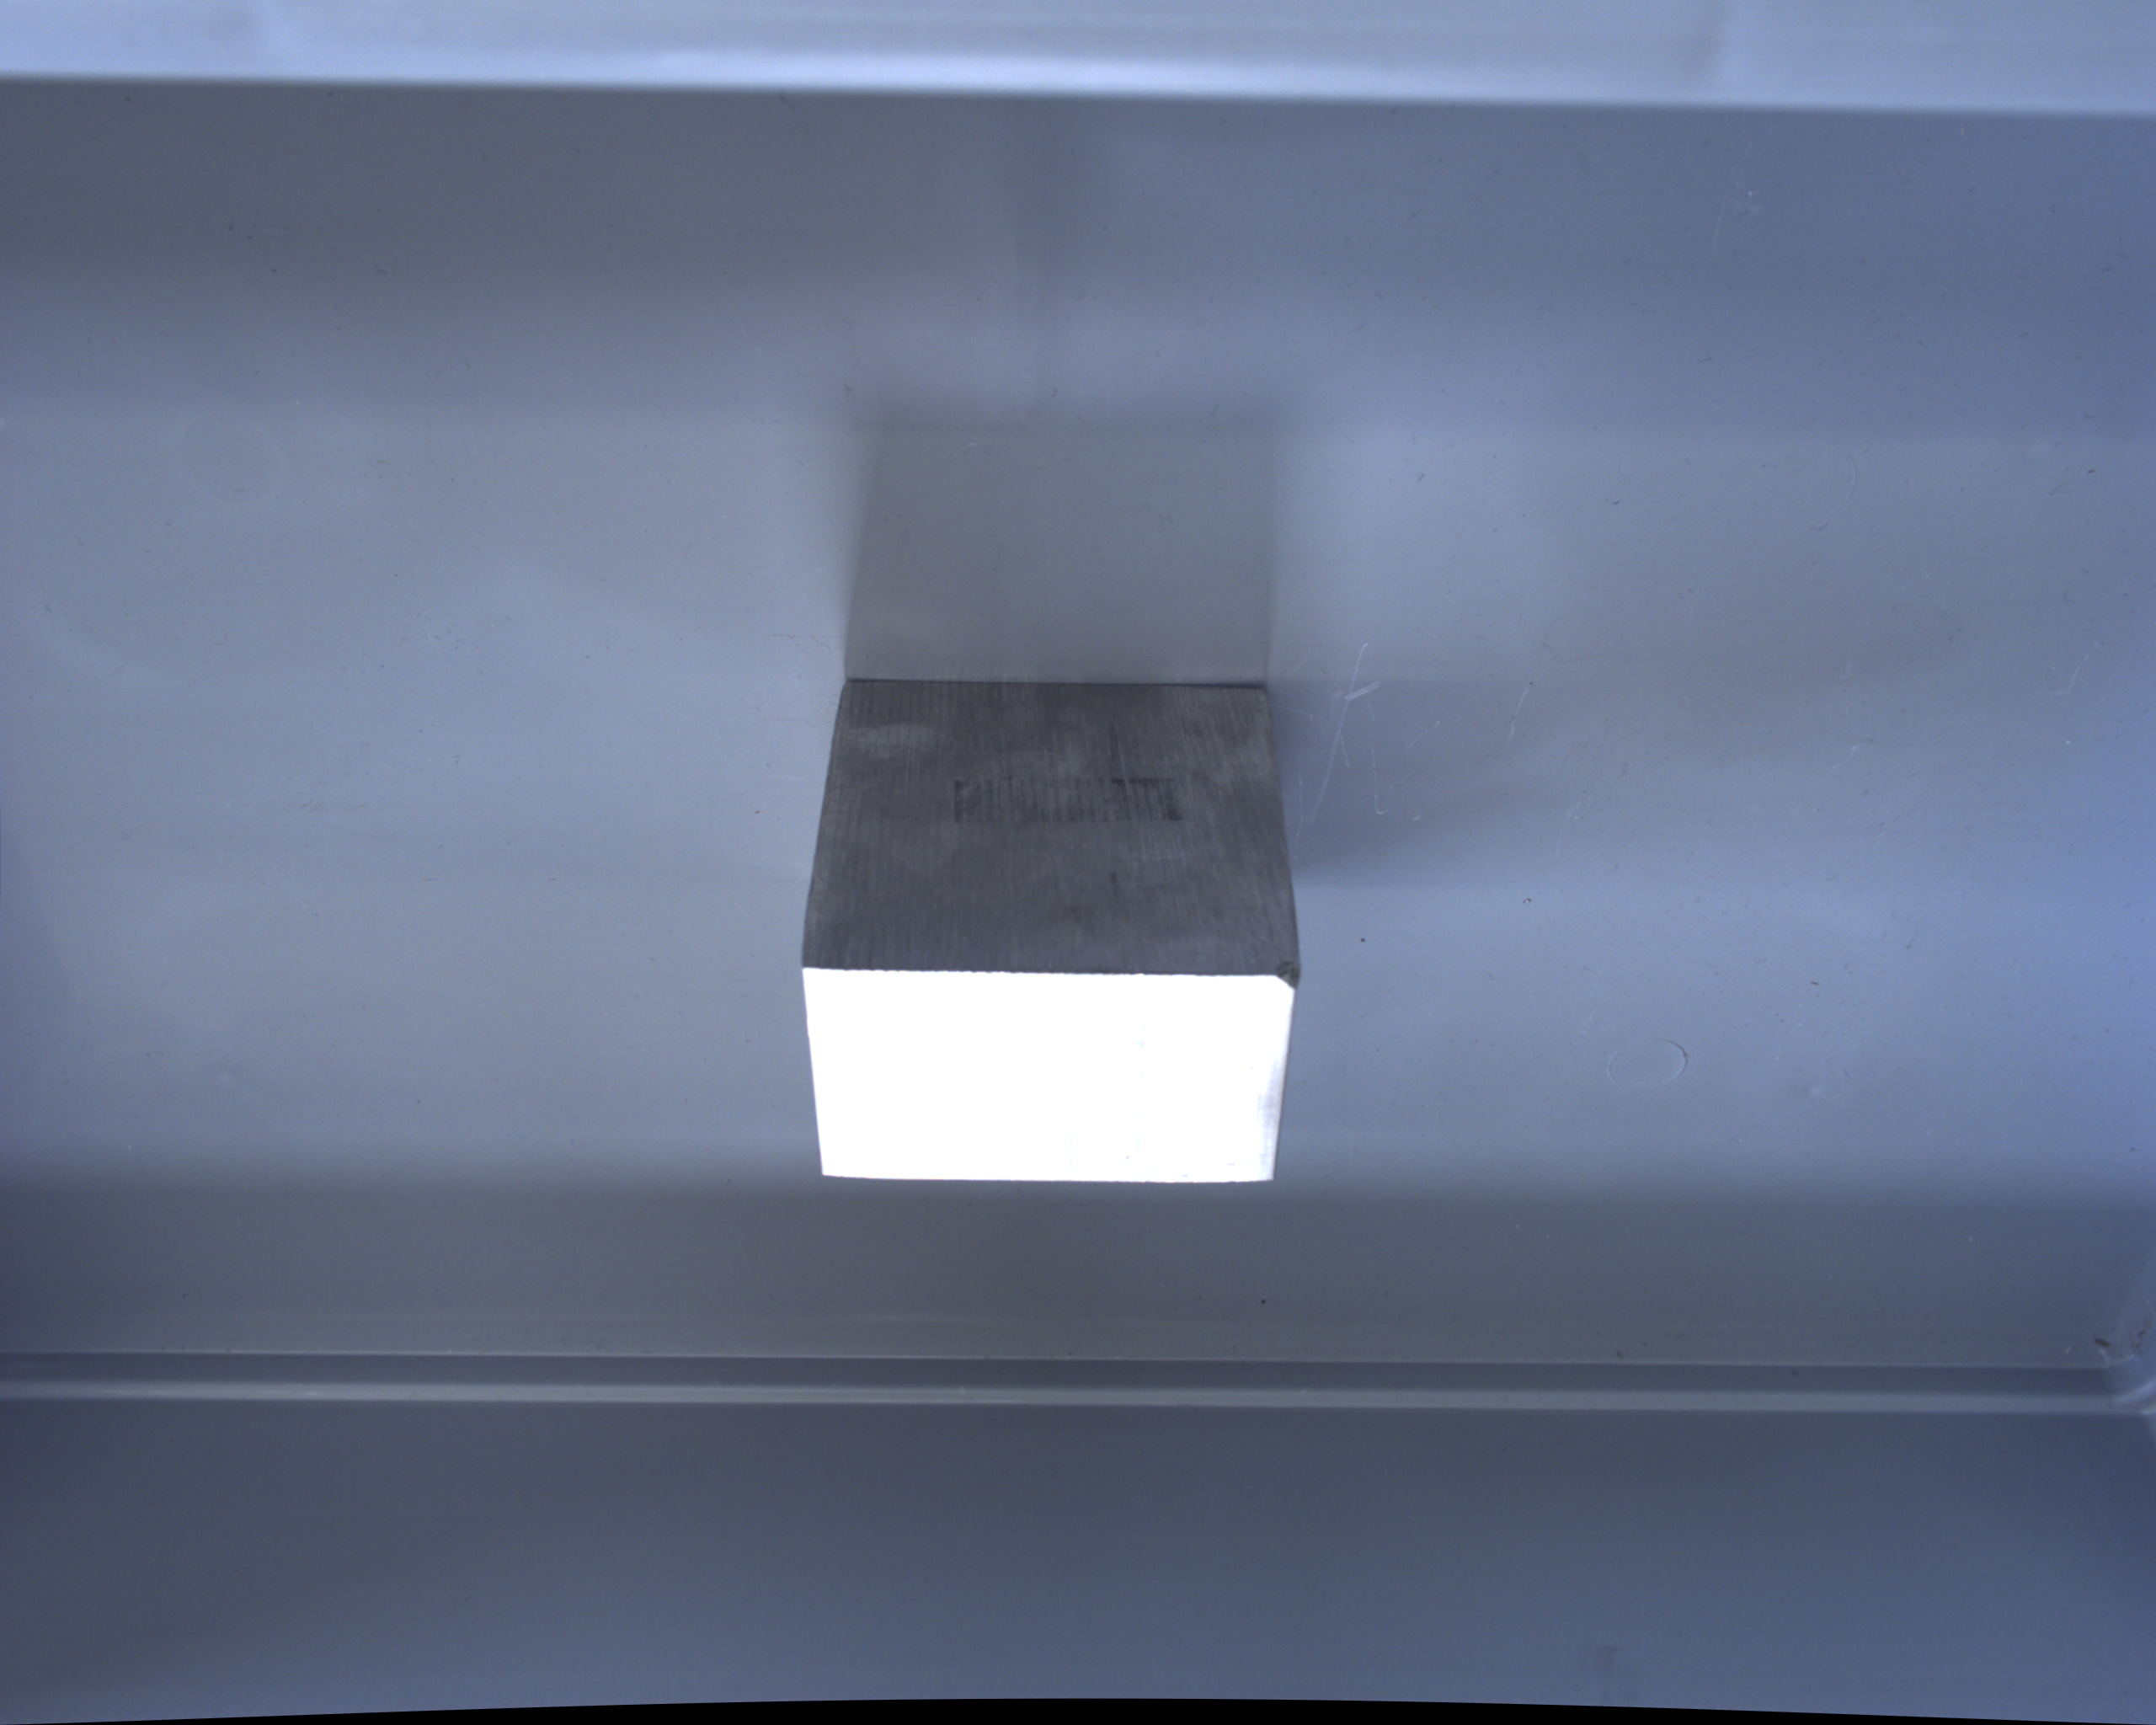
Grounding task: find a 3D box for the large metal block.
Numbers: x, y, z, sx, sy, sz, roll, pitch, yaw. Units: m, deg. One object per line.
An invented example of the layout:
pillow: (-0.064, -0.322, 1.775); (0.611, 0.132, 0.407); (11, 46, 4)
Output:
large metal block: (-0.005, 0.011, 0.379); (0.080, 0.080, 0.050); (1, 130, -1)
